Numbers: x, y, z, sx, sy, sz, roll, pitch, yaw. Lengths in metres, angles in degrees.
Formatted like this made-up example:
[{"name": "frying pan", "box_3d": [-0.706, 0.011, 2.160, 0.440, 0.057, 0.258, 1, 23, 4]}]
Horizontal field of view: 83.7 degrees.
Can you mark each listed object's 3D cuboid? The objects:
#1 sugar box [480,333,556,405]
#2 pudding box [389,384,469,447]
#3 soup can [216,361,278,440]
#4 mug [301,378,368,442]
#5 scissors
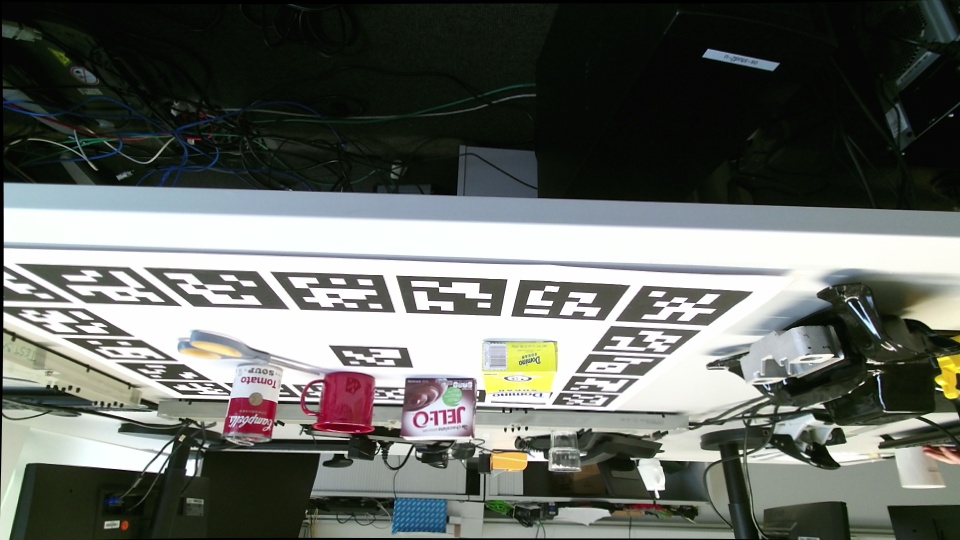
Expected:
[{"name": "sugar box", "box_3d": [0.049, 0.141, 0.735, 0.093, 0.045, 0.177, -1, 149, 0]}, {"name": "pudding box", "box_3d": [-0.077, 0.225, 0.829, 0.114, 0.089, 0.039, -3, 144, 7]}, {"name": "soup can", "box_3d": [-0.341, 0.193, 0.791, 0.068, 0.101, 0.068, 0, 152, 0]}, {"name": "mug", "box_3d": [-0.226, 0.214, 0.830, 0.093, 0.081, 0.117, -20, 146, 28]}, {"name": "scissors", "box_3d": [-0.314, 0.118, 0.725, 0.088, 0.016, 0.203, -30, 138, 29]}]
